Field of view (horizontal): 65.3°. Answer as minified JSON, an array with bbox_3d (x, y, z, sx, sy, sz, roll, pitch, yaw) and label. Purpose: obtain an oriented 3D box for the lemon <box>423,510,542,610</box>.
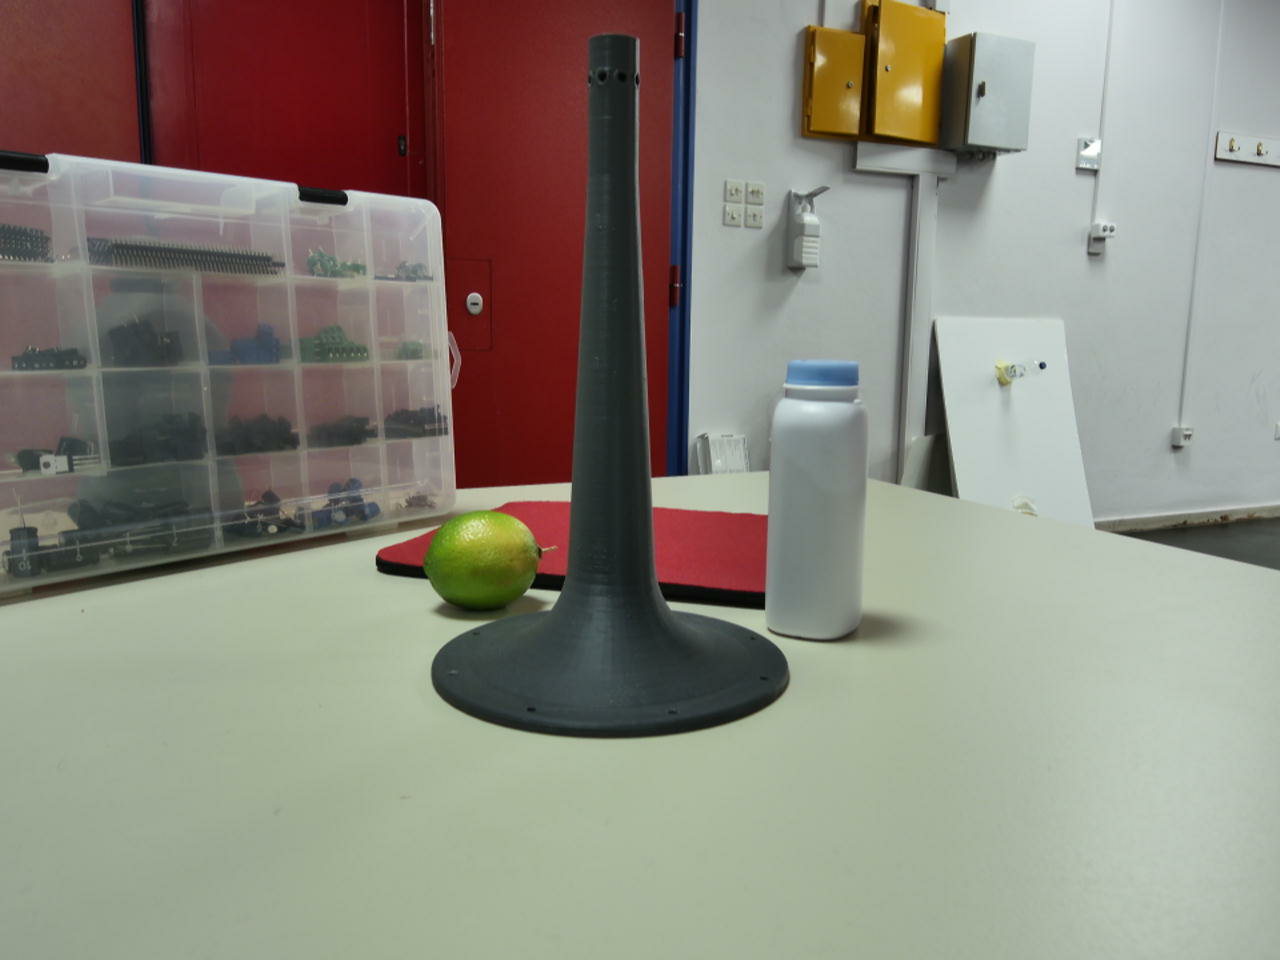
[{"bbox_3d":[-0.082,0.041,0.517,0.055,0.050,0.054,2,7,25],"label":"lemon"}]
